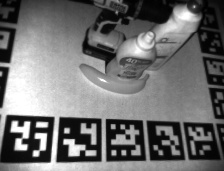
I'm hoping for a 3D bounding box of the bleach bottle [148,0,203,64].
[{"bbox_3d":[0.136,-0.146,0.545,0.103,0.250,0.067,7,64,-13],"label":"bleach bottle"}]

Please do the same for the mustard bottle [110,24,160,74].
[{"bbox_3d":[0.063,-0.089,0.528,0.097,0.190,0.058,5,70,-15],"label":"mustard bottle"}]

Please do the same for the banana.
[{"bbox_3d":[0.021,-0.035,0.591,0.198,0.039,0.074,9,70,-12],"label":"banana"}]

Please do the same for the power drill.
[{"bbox_3d":[0.028,-0.166,0.522,0.186,0.186,0.057,16,66,-12],"label":"power drill"}]
